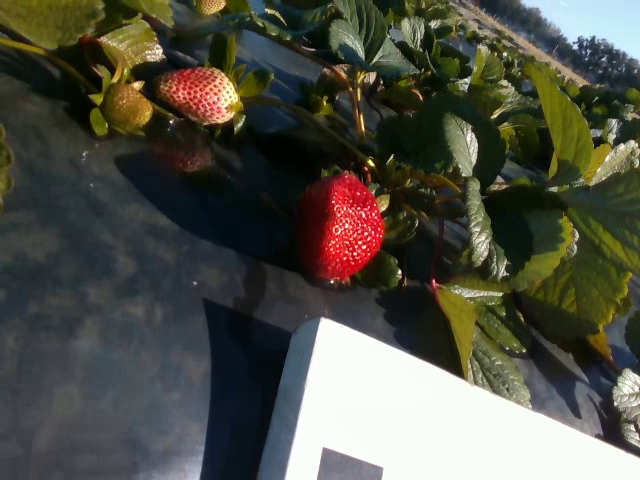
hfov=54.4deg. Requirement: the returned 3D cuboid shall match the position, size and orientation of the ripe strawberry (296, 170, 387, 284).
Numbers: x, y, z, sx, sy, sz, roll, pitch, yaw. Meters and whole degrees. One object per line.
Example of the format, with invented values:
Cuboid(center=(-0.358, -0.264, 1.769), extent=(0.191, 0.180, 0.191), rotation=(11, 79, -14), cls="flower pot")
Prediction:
Cuboid(center=(0.003, -0.005, 0.250), extent=(0.058, 0.065, 0.062), rotation=(-26, -1, -9), cls="ripe strawberry")
